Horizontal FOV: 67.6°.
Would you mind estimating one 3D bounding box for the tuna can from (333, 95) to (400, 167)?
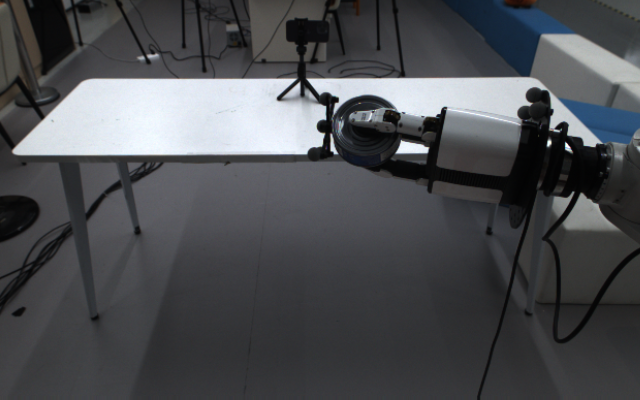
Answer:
[{"bbox_3d":[0.061,-0.083,0.595,0.085,0.034,0.085,-2,69,6],"label":"tuna can"}]
